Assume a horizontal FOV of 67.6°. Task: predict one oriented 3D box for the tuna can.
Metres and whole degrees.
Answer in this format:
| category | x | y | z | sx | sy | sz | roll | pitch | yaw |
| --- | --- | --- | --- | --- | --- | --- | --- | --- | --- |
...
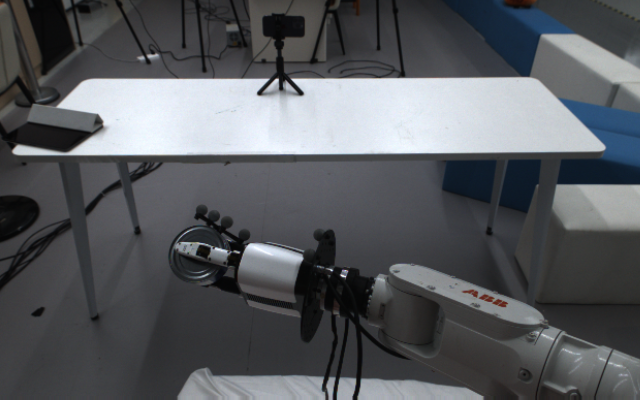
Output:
| category | x | y | z | sx | sy | sz | roll | pitch | yaw |
| --- | --- | --- | --- | --- | --- | --- | --- | --- | --- |
| tuna can | -0.174 | 0.083 | 0.711 | 0.085 | 0.034 | 0.085 | -2 | 70 | 6 |
